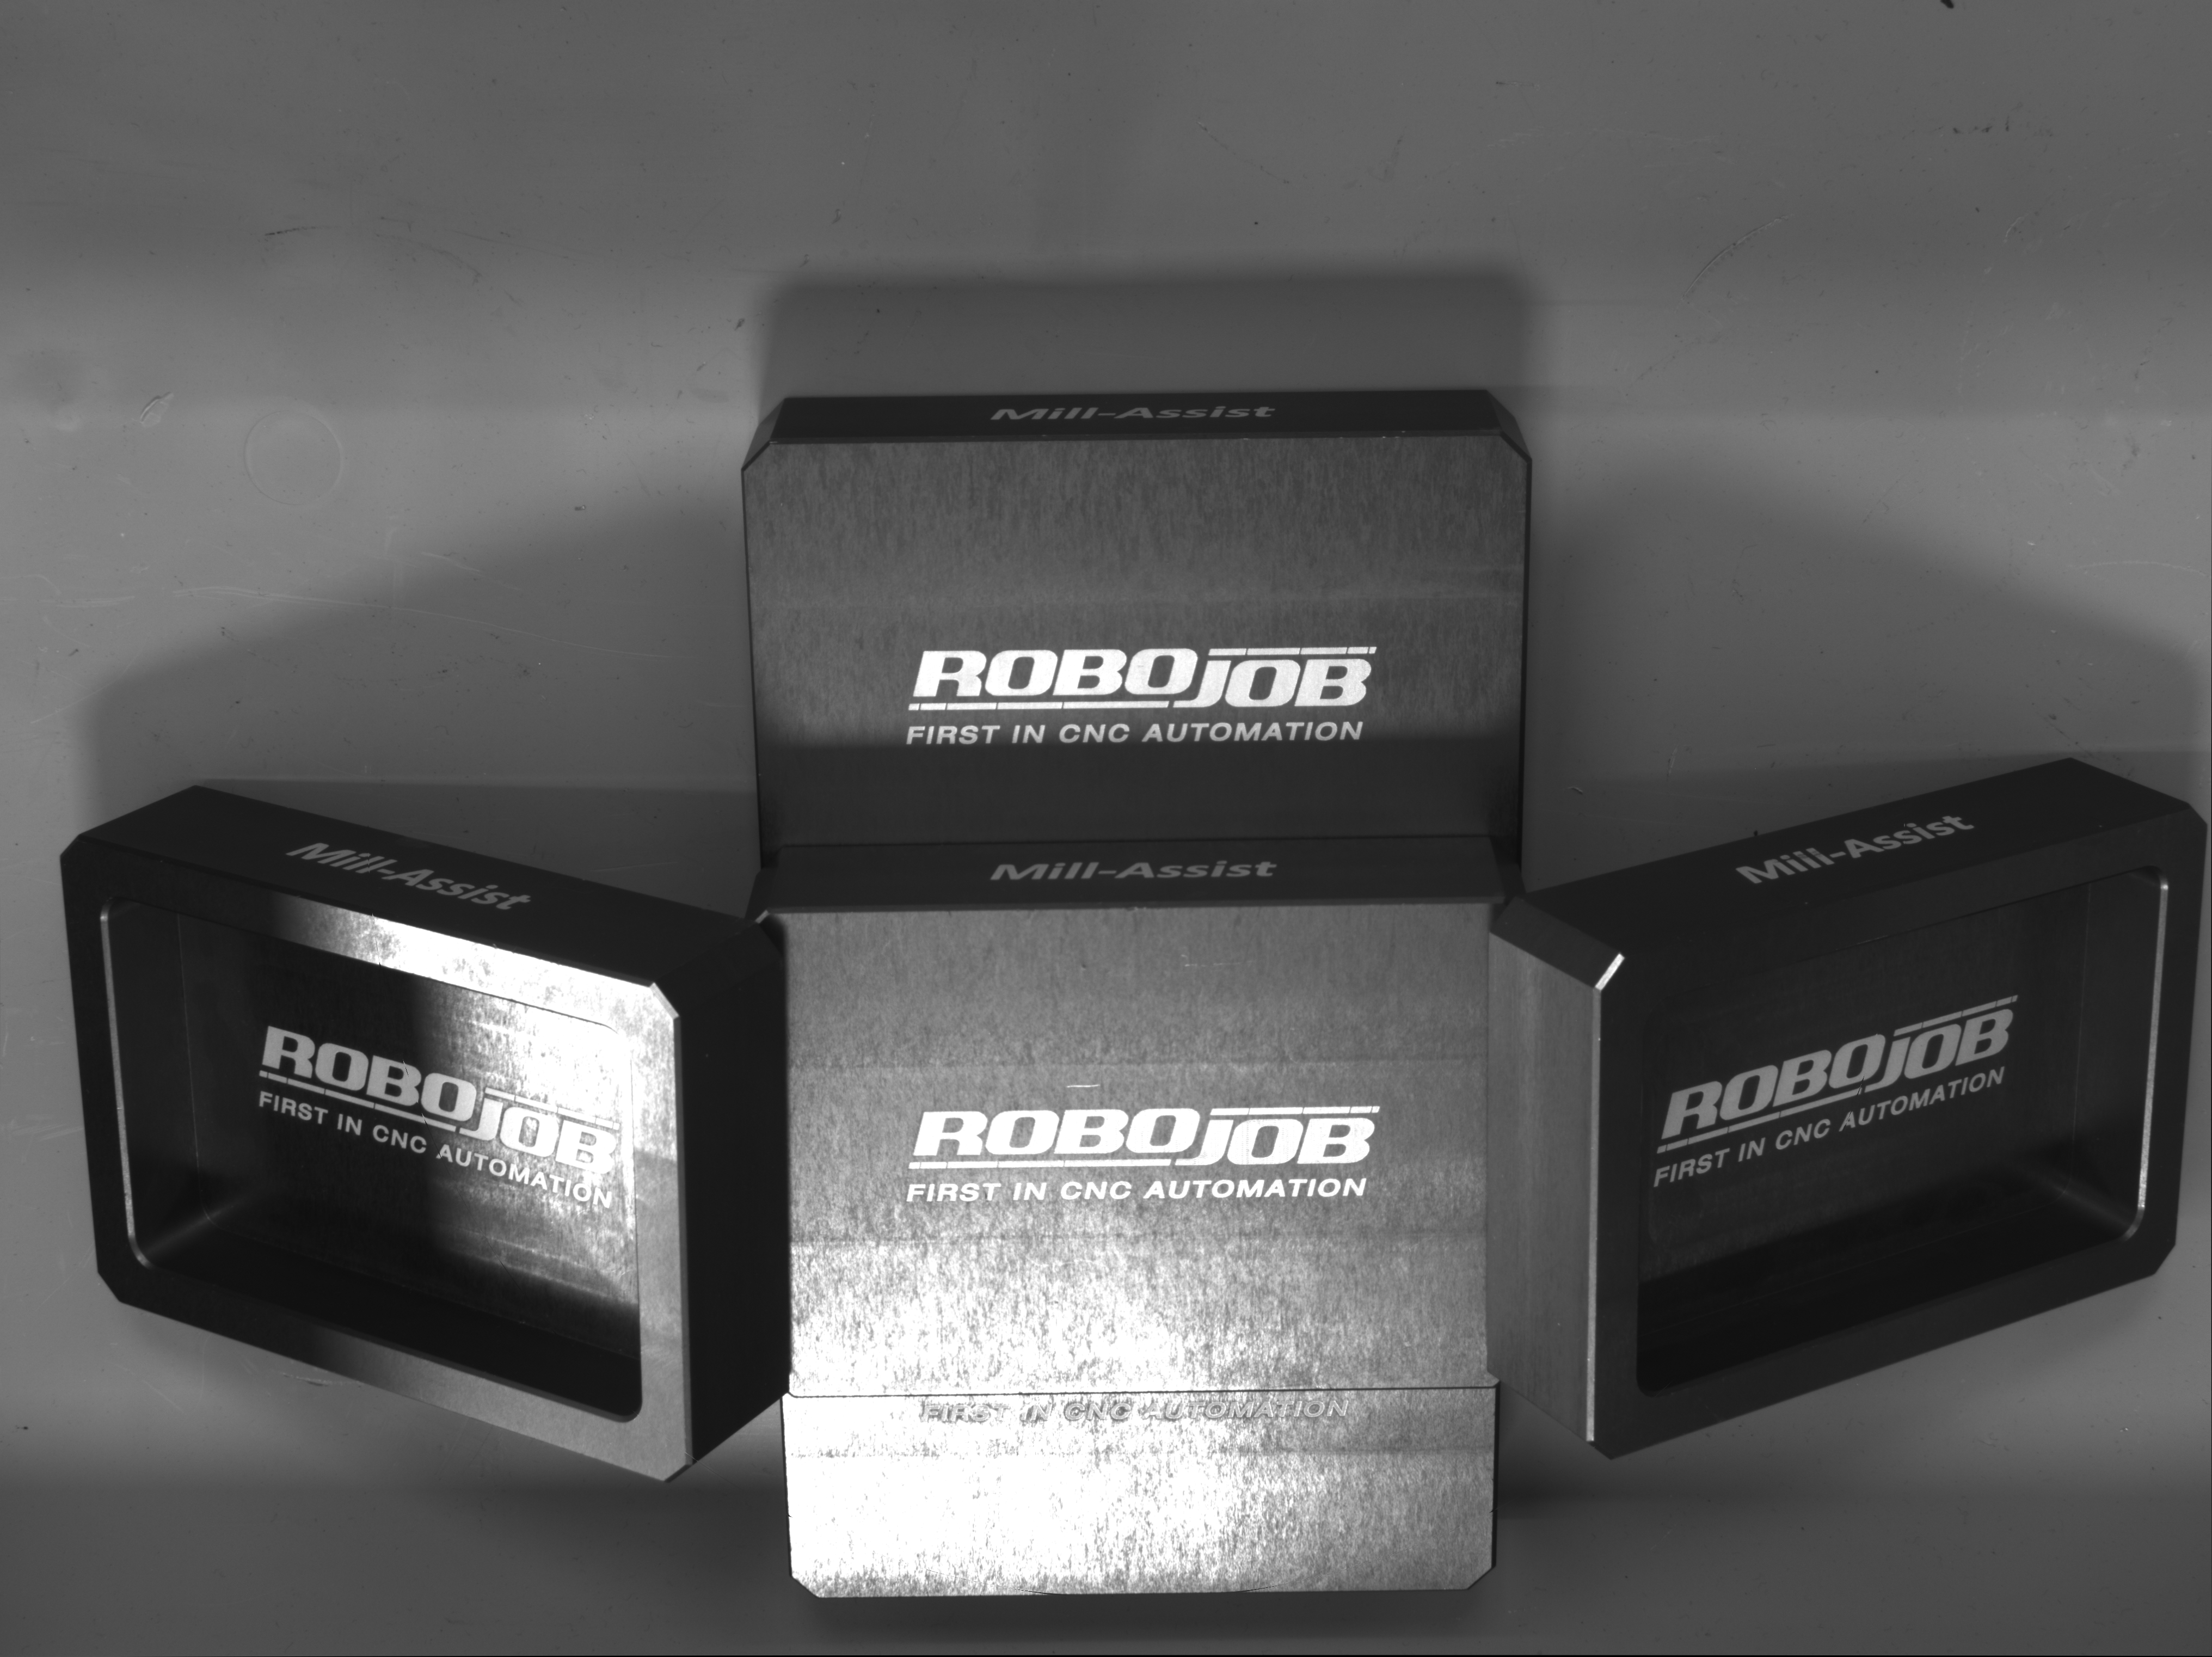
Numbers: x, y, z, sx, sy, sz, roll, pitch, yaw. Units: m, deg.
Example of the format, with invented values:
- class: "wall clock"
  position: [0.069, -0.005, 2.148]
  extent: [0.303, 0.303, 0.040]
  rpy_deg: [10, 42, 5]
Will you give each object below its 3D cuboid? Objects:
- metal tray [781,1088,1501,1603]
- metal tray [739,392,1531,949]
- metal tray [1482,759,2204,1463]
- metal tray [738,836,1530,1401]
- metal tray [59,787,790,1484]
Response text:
- class: "metal tray"
  position: [0.006, 0.095, 0.673]
  extent: [0.130, 0.030, 0.090]
  rpy_deg: [-1, 110, 0]
- class: "metal tray"
  position: [0.005, -0.027, 0.629]
  extent: [0.130, 0.030, 0.090]
  rpy_deg: [-1, 110, 0]
- class: "metal tray"
  position: [0.126, 0.046, 0.623]
  extent: [0.130, 0.030, 0.090]
  rpy_deg: [-13, 113, -27]
- class: "metal tray"
  position: [0.006, 0.050, 0.626]
  extent: [0.130, 0.030, 0.090]
  rpy_deg: [-1, 110, 0]
- class: "metal tray"
  position: [-0.117, 0.050, 0.625]
  extent: [0.130, 0.030, 0.090]
  rpy_deg: [12, 114, 27]
